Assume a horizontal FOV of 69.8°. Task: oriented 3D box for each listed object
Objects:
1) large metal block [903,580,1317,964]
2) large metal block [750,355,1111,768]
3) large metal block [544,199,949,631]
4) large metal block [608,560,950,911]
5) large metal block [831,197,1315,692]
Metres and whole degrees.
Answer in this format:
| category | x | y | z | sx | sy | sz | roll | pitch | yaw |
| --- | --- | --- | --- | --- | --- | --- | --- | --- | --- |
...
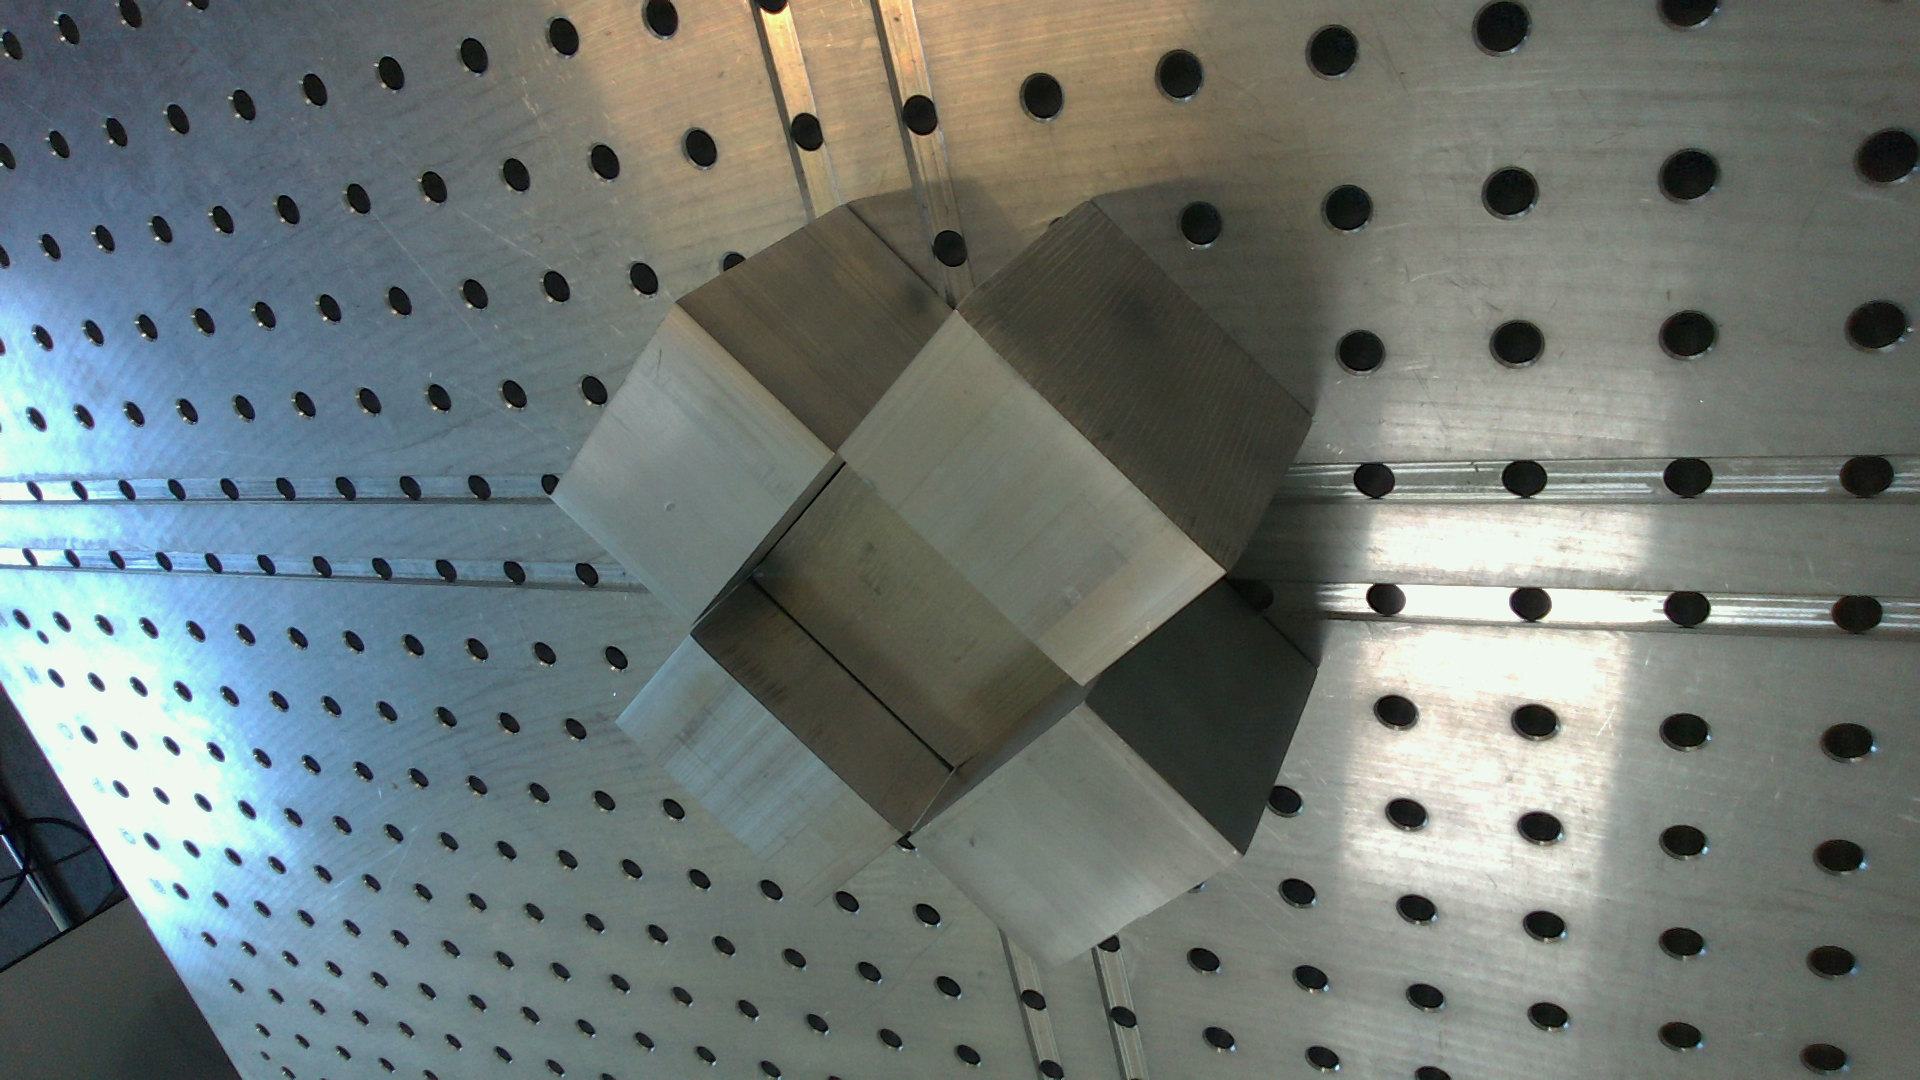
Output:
| category | x | y | z | sx | sy | sz | roll | pitch | yaw |
| --- | --- | --- | --- | --- | --- | --- | --- | --- | --- |
| large metal block | 0.042 | 0.056 | 0.374 | 0.050 | 0.080 | 0.080 | 44 | 129 | -3 |
| large metal block | 0.001 | 0.004 | 0.381 | 0.080 | 0.050 | 0.080 | 44 | 131 | -1 |
| large metal block | -0.052 | -0.034 | 0.368 | 0.050 | 0.080 | 0.080 | 43 | 129 | -2 |
| large metal block | -0.042 | 0.047 | 0.411 | 0.080 | 0.080 | 0.050 | 43 | 129 | -2 |
| large metal block | 0.030 | -0.025 | 0.329 | 0.080 | 0.080 | 0.050 | 43 | 129 | -2 |
